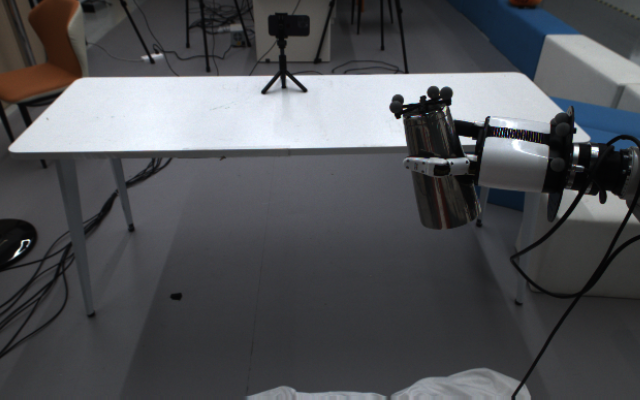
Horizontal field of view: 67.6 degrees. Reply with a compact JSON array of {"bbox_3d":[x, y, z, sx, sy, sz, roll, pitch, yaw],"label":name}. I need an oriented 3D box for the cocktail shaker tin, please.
[{"bbox_3d":[0.175,-0.054,0.714,0.093,0.170,0.093,-17,20,7],"label":"cocktail shaker tin"}]
